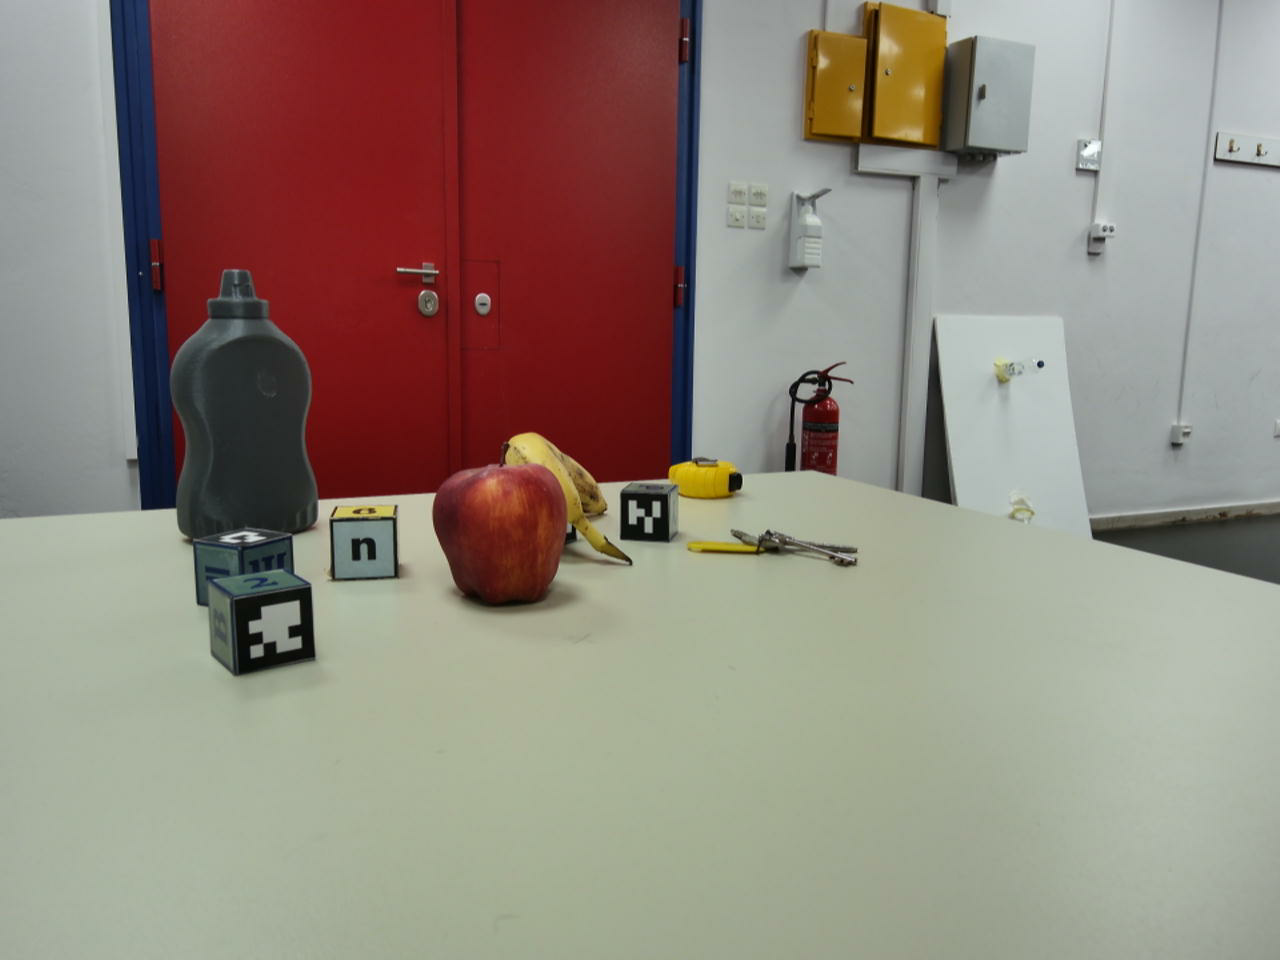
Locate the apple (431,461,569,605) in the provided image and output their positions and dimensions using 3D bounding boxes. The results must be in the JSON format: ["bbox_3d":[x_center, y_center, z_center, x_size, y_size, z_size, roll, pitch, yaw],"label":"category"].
[{"bbox_3d":[-0.081,0.024,0.581,0.083,0.090,0.083,0,7,0],"label":"apple"}]
